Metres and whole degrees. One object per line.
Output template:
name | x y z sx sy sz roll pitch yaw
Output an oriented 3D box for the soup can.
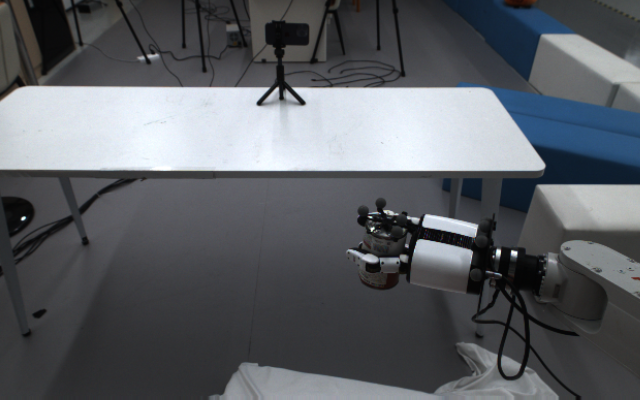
soup can | 0.100 0.082 0.767 0.067 0.101 0.067 3 30 -2
